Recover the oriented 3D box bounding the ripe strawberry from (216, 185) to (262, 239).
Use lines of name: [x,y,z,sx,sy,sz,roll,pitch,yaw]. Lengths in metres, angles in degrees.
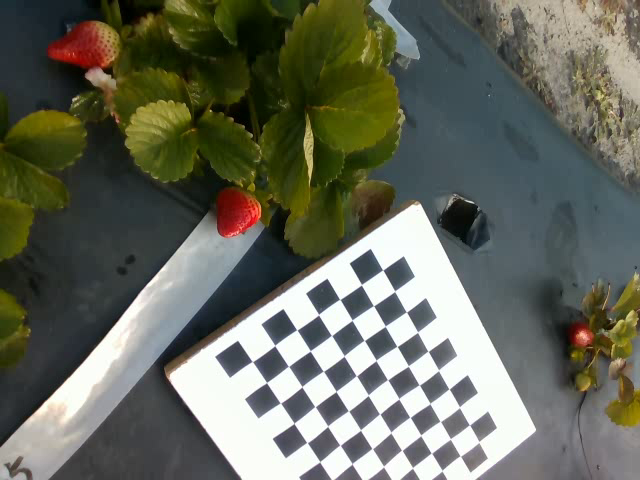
ripe strawberry: [-0.065,-0.017,0.462,0.055,0.050,0.035,-47,28,-24]
